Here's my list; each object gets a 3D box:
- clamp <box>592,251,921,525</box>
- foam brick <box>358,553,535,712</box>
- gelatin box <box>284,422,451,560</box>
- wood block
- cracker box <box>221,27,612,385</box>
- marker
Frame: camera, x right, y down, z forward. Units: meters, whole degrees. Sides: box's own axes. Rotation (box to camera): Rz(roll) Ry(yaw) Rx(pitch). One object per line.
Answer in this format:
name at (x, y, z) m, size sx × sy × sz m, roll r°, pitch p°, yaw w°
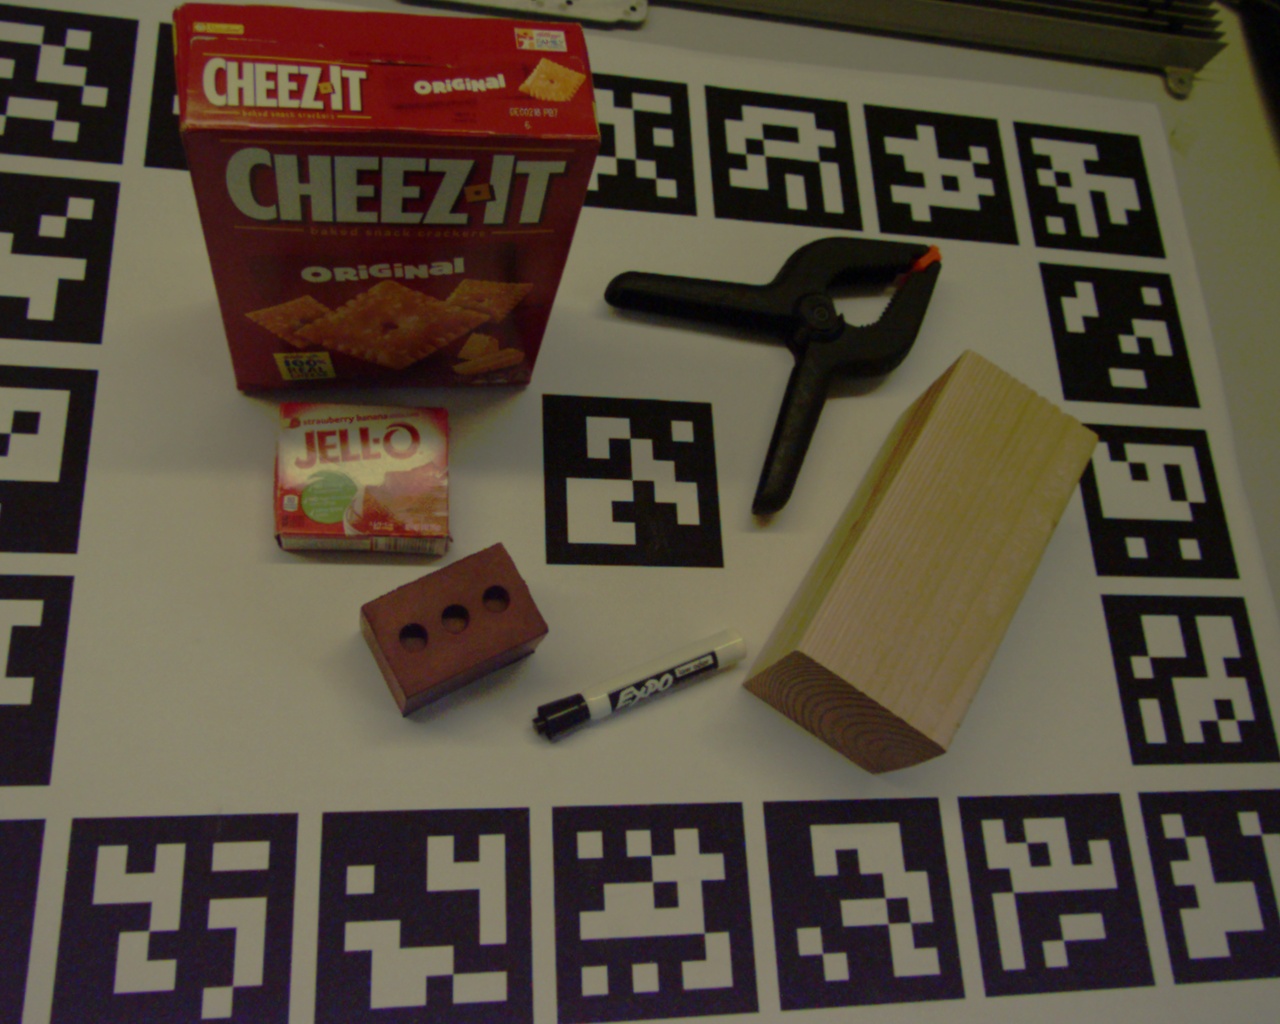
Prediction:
clamp at (0.094, -0.105, 0.709) m, size 0.201 × 0.037 × 0.166 m, roll -30°, pitch 82°, yaw -19°
foam brick at (-0.104, 0.064, 0.603) m, size 0.077 × 0.051 × 0.053 m, roll -23°, pitch 81°, yaw -18°
gelatin box at (-0.150, -0.012, 0.632) m, size 0.089 × 0.030 × 0.073 m, roll 0°, pitch 74°, yaw -12°
wood block at (0.143, 0.033, 0.651) m, size 0.090 × 0.091 × 0.205 m, roll 34°, pitch 66°, yaw 2°
cracker box at (-0.118, -0.136, 0.572) m, size 0.163 × 0.214 × 0.072 m, roll -2°, pitch 72°, yaw -16°
marker at (-0.019, 0.100, 0.626) m, size 0.120 × 0.020 × 0.020 m, roll -19°, pitch 80°, yaw -17°
